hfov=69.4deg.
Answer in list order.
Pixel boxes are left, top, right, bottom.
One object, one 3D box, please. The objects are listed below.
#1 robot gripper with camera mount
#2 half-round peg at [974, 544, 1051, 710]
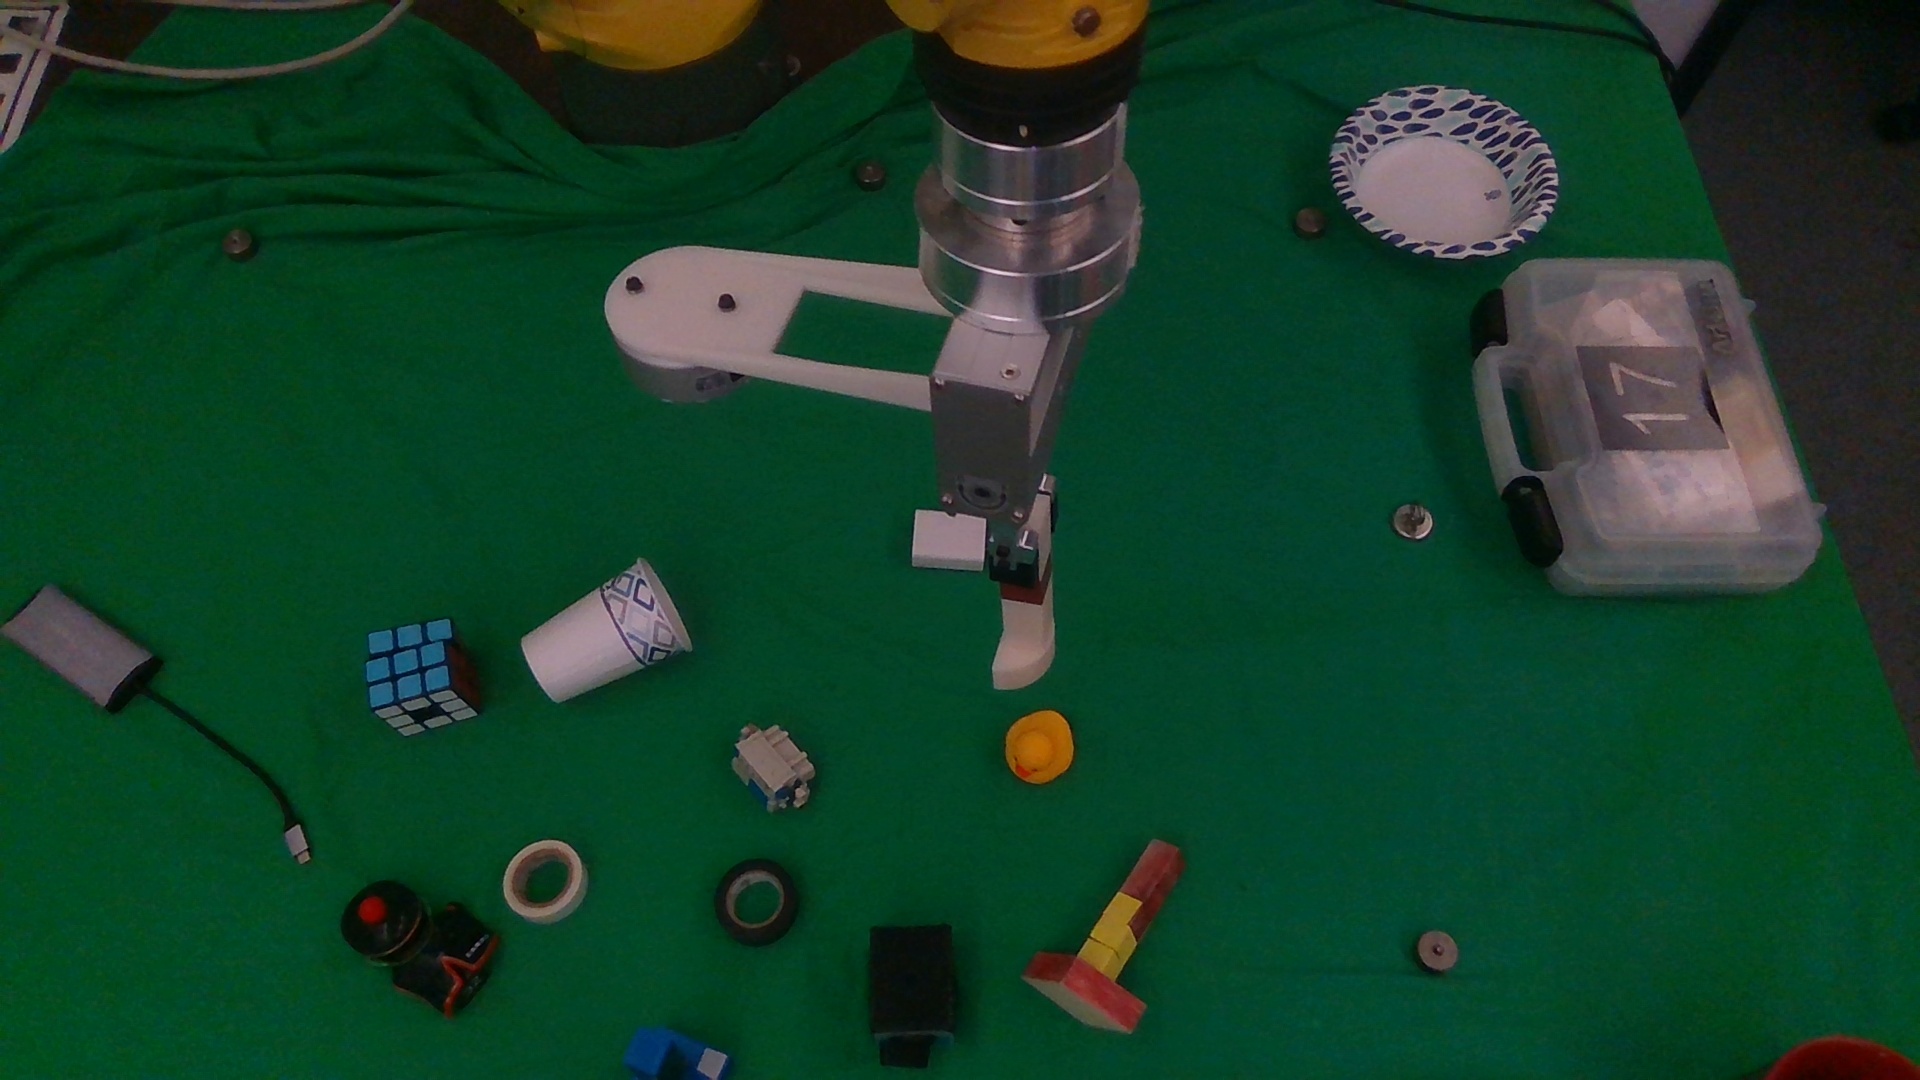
[{"bbox_3d":[-0.046,-0.045,0.570,0.194,0.158,0.119,11,56,11],"label":"robot gripper with camera mount"},{"bbox_3d":[0.023,0.027,0.650,0.031,0.122,0.054,0,53,9],"label":"half-round peg"}]
